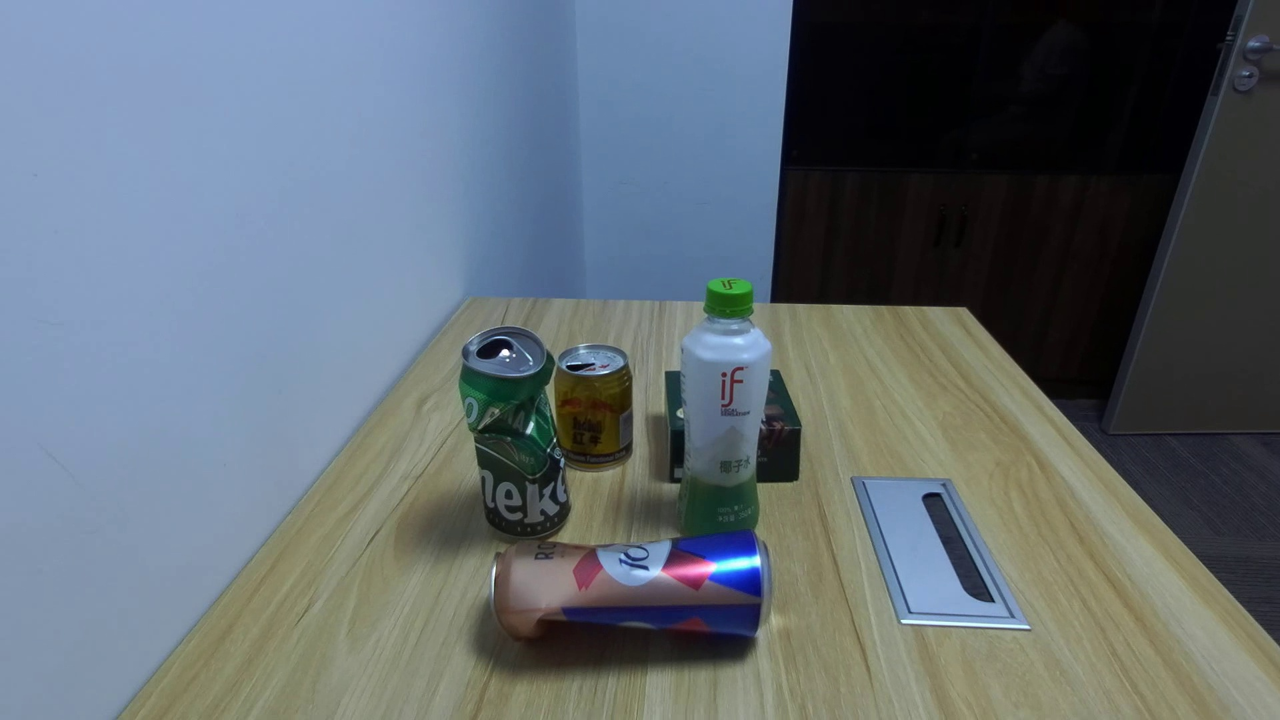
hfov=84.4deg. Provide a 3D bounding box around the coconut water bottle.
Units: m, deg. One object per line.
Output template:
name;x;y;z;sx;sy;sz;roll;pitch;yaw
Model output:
coconut water bottle;0.059;0.037;0.498;0.063;0.189;0.063;1;24;0

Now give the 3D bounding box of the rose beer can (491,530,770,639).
rose beer can;-0.005;0.137;0.435;0.168;0.069;0.069;-2;45;1

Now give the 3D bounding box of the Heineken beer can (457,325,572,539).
Heineken beer can;-0.089;0.055;0.510;0.067;0.159;0.078;-13;34;-18

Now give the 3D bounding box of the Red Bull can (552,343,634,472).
Red Bull can;-0.039;0.039;0.607;0.069;0.092;0.069;0;26;0

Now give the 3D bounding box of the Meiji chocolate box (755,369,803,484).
Meiji chocolate box;0.077;0.056;0.618;0.109;0.056;0.110;-1;25;0
